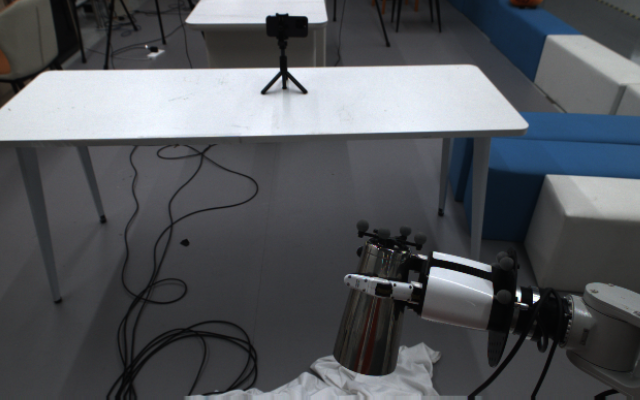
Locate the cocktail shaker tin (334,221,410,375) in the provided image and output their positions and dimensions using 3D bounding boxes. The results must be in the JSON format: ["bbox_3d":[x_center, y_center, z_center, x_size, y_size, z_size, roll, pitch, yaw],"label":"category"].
[{"bbox_3d":[0.082,0.142,0.681,0.093,0.170,0.093,10,9,-2],"label":"cocktail shaker tin"}]
